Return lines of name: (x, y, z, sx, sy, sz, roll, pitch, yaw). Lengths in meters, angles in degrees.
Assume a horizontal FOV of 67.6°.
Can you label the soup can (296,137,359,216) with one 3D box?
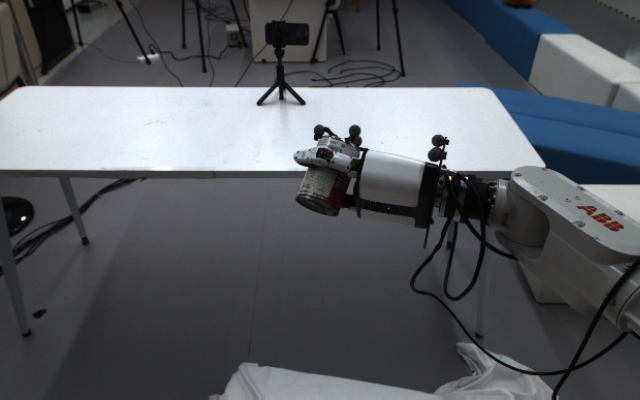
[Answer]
soup can: (0.013, -0.035, 0.714, 0.067, 0.067, 0.101, 16, 75, 19)
